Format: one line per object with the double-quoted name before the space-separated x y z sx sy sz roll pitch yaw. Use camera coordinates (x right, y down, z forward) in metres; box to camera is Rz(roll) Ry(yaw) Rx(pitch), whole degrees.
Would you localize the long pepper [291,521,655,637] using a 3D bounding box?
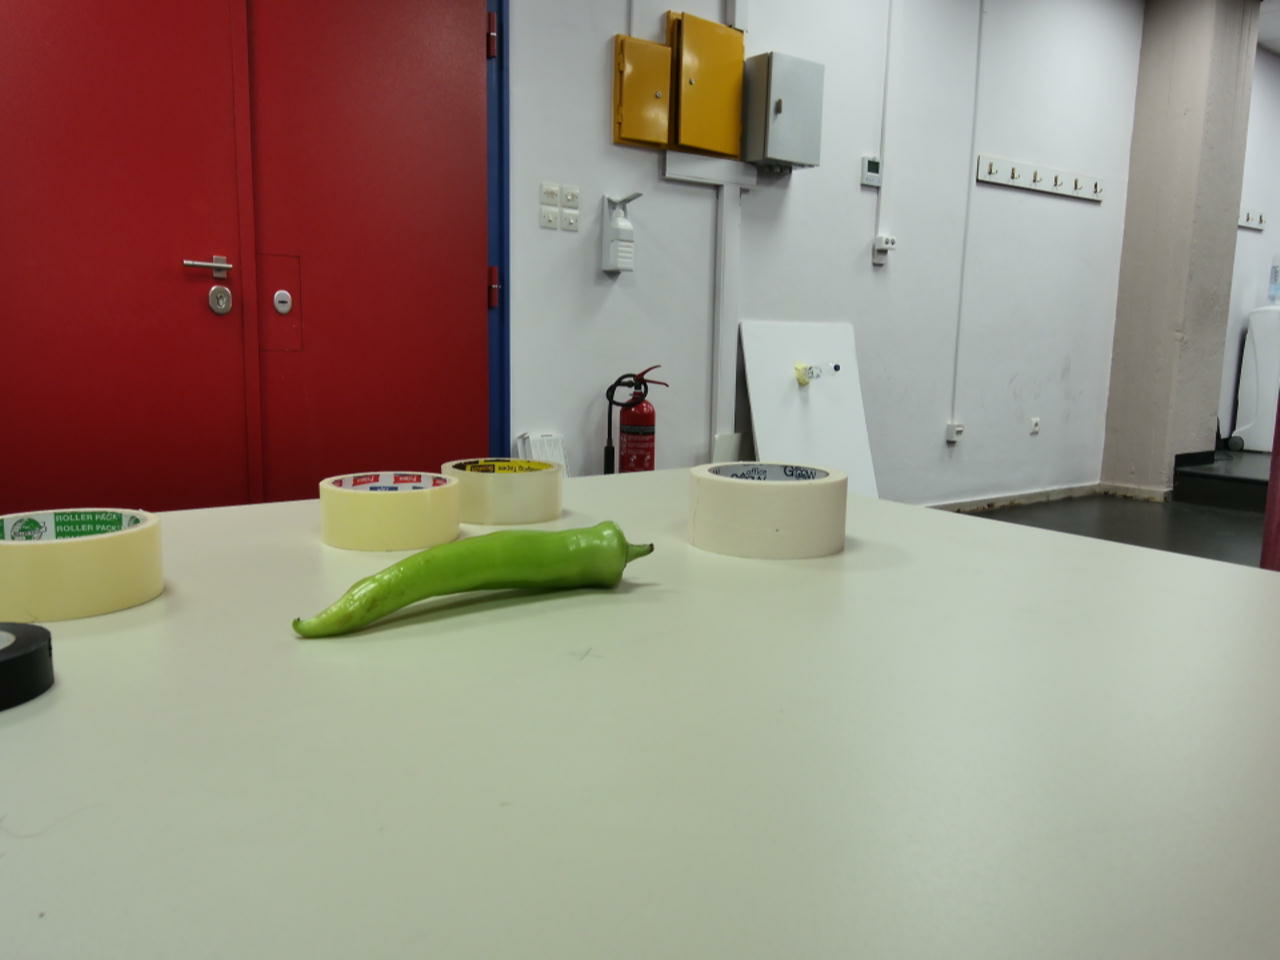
"long pepper" -0.082 0.046 0.514 0.197 0.038 0.047 -4 8 -35
